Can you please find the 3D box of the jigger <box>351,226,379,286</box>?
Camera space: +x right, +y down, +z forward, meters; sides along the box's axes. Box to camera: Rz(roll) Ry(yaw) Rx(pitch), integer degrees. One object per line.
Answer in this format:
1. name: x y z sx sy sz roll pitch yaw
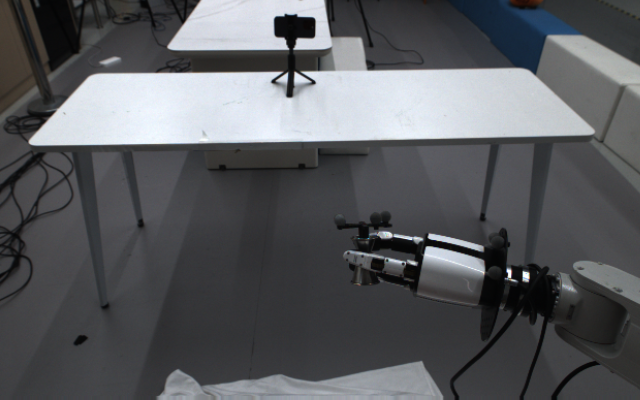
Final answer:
1. jigger: 0.065 0.087 0.714 0.043 0.071 0.043 -2 3 0
